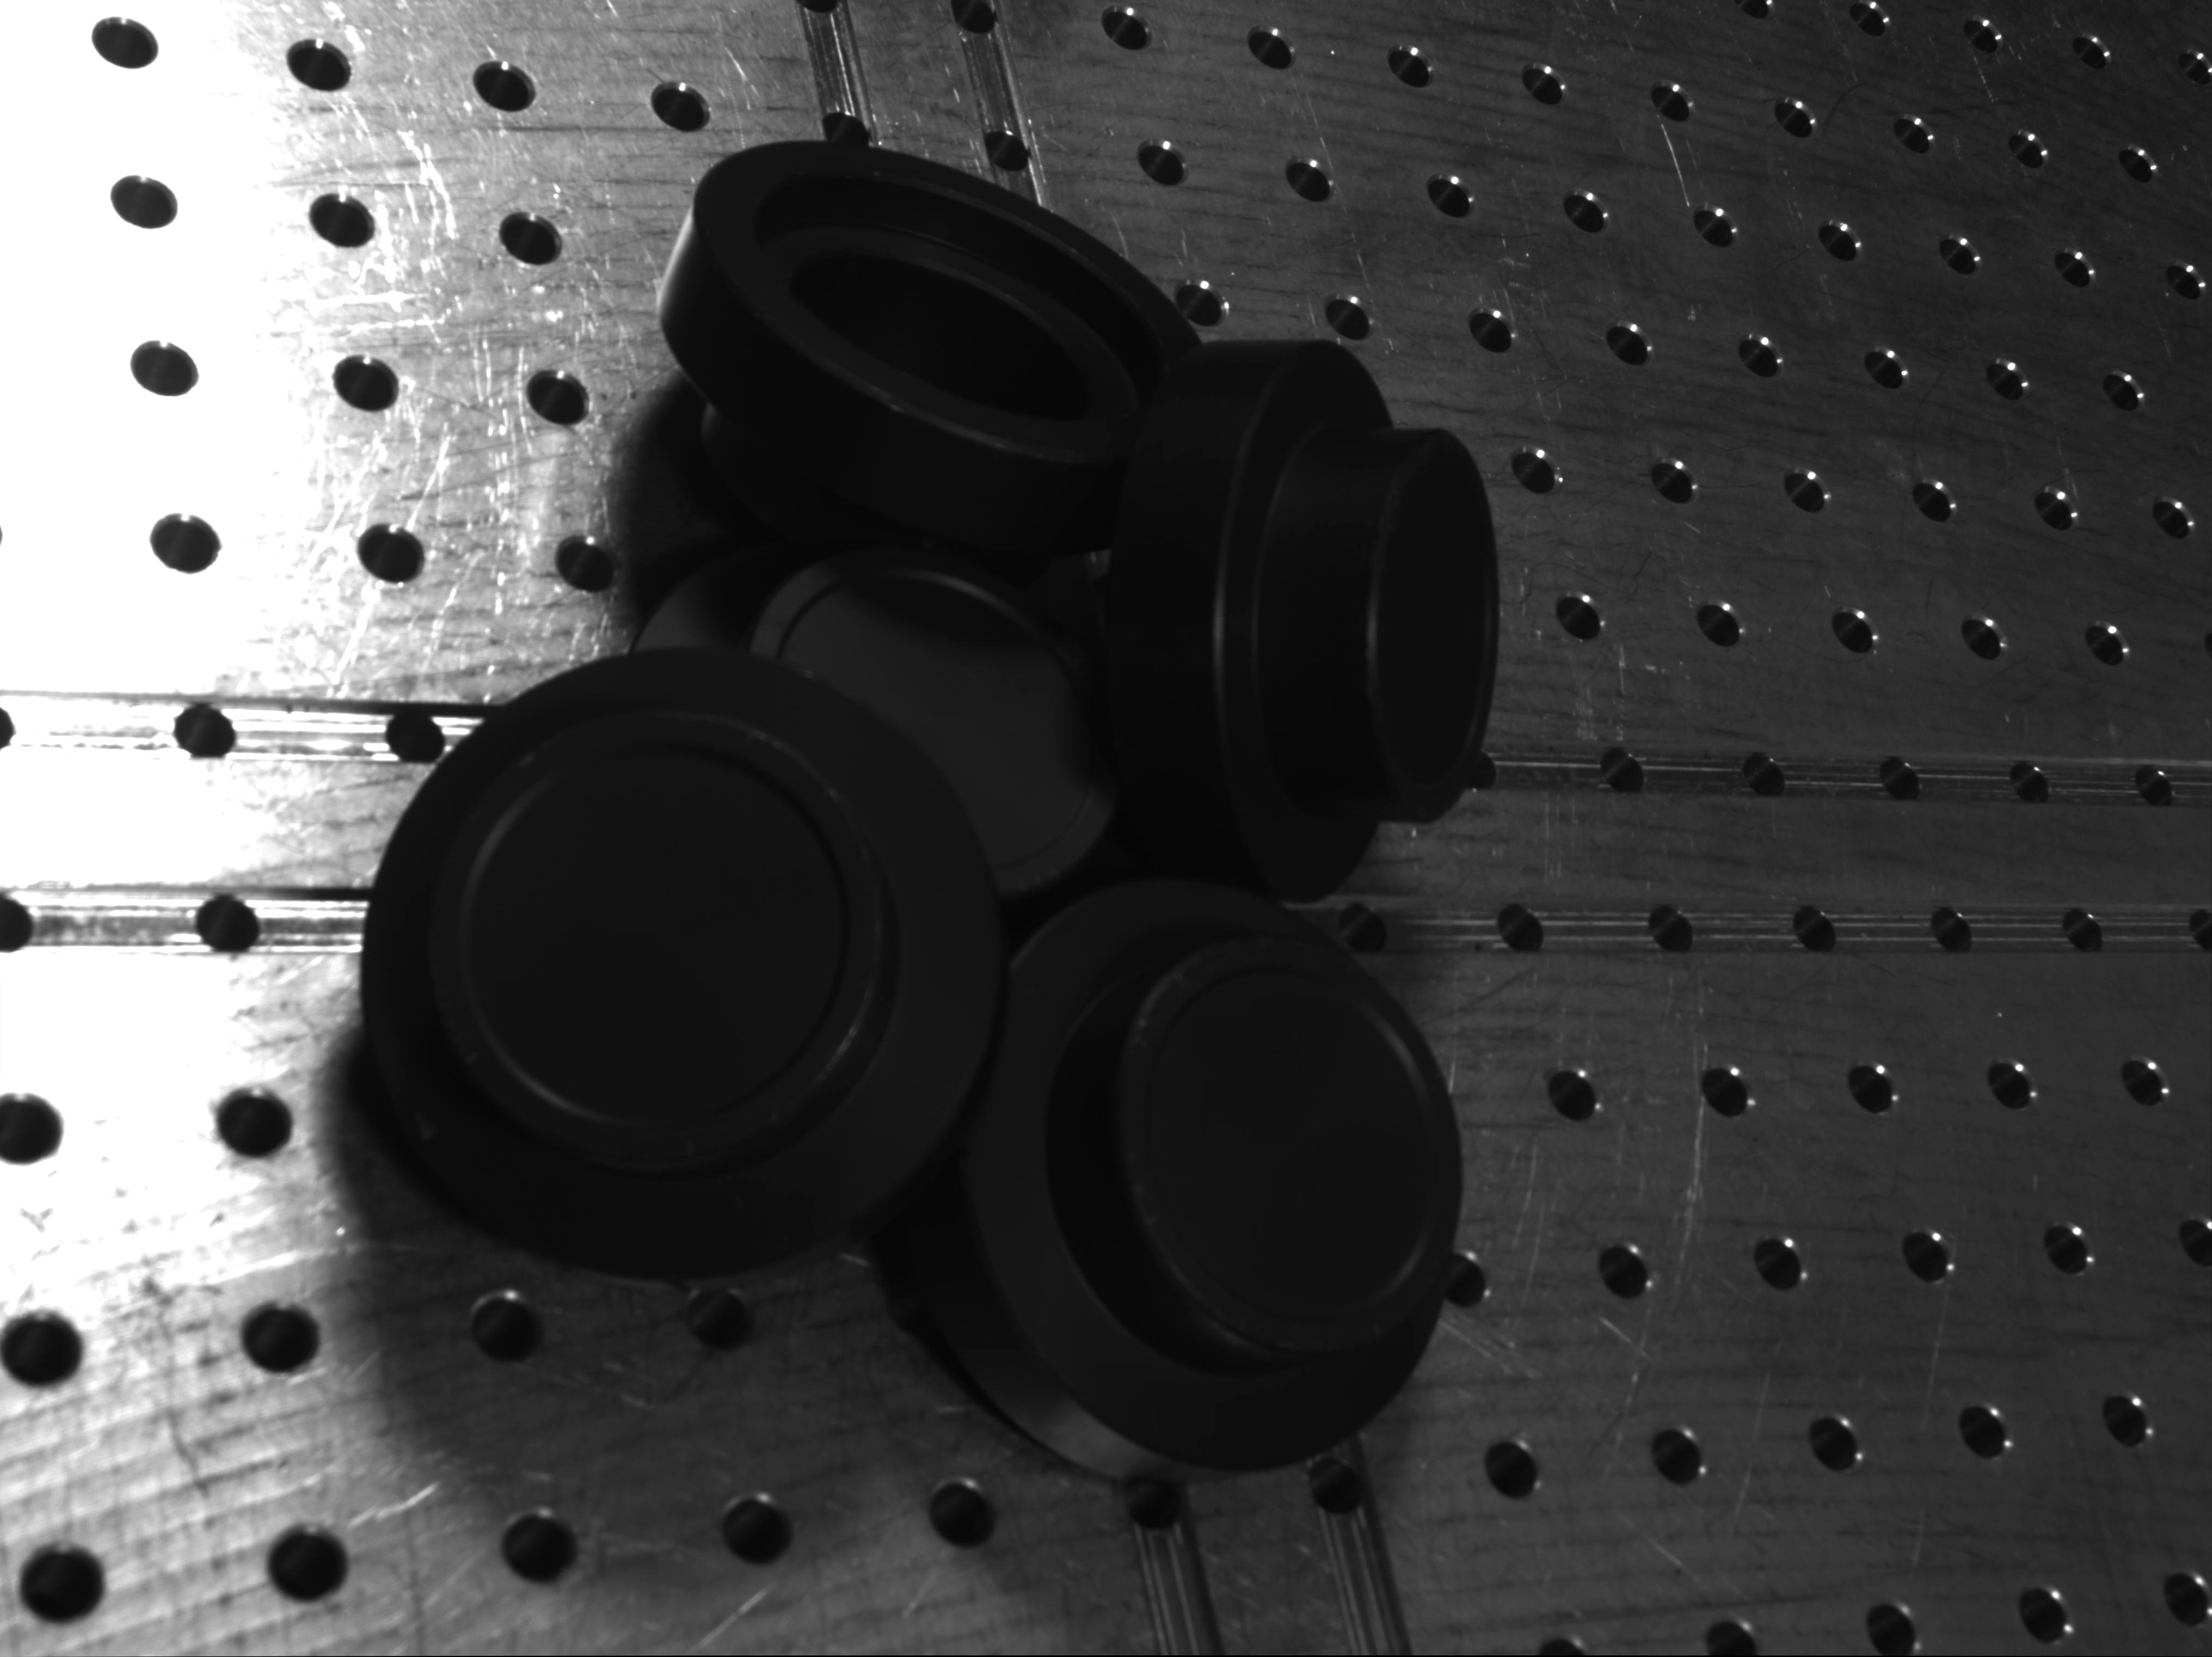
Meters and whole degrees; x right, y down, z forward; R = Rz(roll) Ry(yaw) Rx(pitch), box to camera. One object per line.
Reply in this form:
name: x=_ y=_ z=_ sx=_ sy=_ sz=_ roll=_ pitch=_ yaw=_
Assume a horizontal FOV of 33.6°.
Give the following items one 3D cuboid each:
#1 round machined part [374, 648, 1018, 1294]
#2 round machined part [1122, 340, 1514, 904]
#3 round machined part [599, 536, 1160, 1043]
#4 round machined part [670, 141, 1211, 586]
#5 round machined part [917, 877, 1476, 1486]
round machined part: x=-0.063 y=0.020 z=0.556 sx=0.098 sy=0.042 sz=0.098 roll=0 pitch=78 yaw=2
round machined part: x=0.041 y=-0.036 z=0.638 sx=0.042 sy=0.098 sz=0.098 roll=4 pitch=48 yaw=23
round machined part: x=-0.035 y=-0.009 z=0.617 sx=0.098 sy=0.042 sz=0.098 roll=14 pitch=56 yaw=-21
round machined part: x=-0.031 y=-0.077 z=0.648 sx=0.098 sy=0.042 sz=0.098 roll=19 pitch=33 yaw=-13
round machined part: x=0.021 y=0.055 z=0.594 sx=0.098 sy=0.042 sz=0.098 roll=12 pitch=67 yaw=-30
